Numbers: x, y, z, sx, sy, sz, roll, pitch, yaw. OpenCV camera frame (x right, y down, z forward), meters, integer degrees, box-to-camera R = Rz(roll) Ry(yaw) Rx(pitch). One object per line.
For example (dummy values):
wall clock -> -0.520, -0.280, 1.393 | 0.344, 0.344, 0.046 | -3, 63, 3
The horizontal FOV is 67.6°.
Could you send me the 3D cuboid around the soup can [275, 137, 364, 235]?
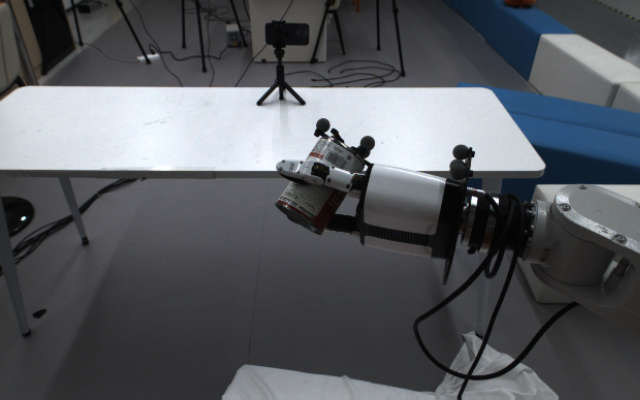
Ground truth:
soup can -> 0.002, -0.018, 0.590 | 0.067, 0.067, 0.101 | 27, 78, 31
